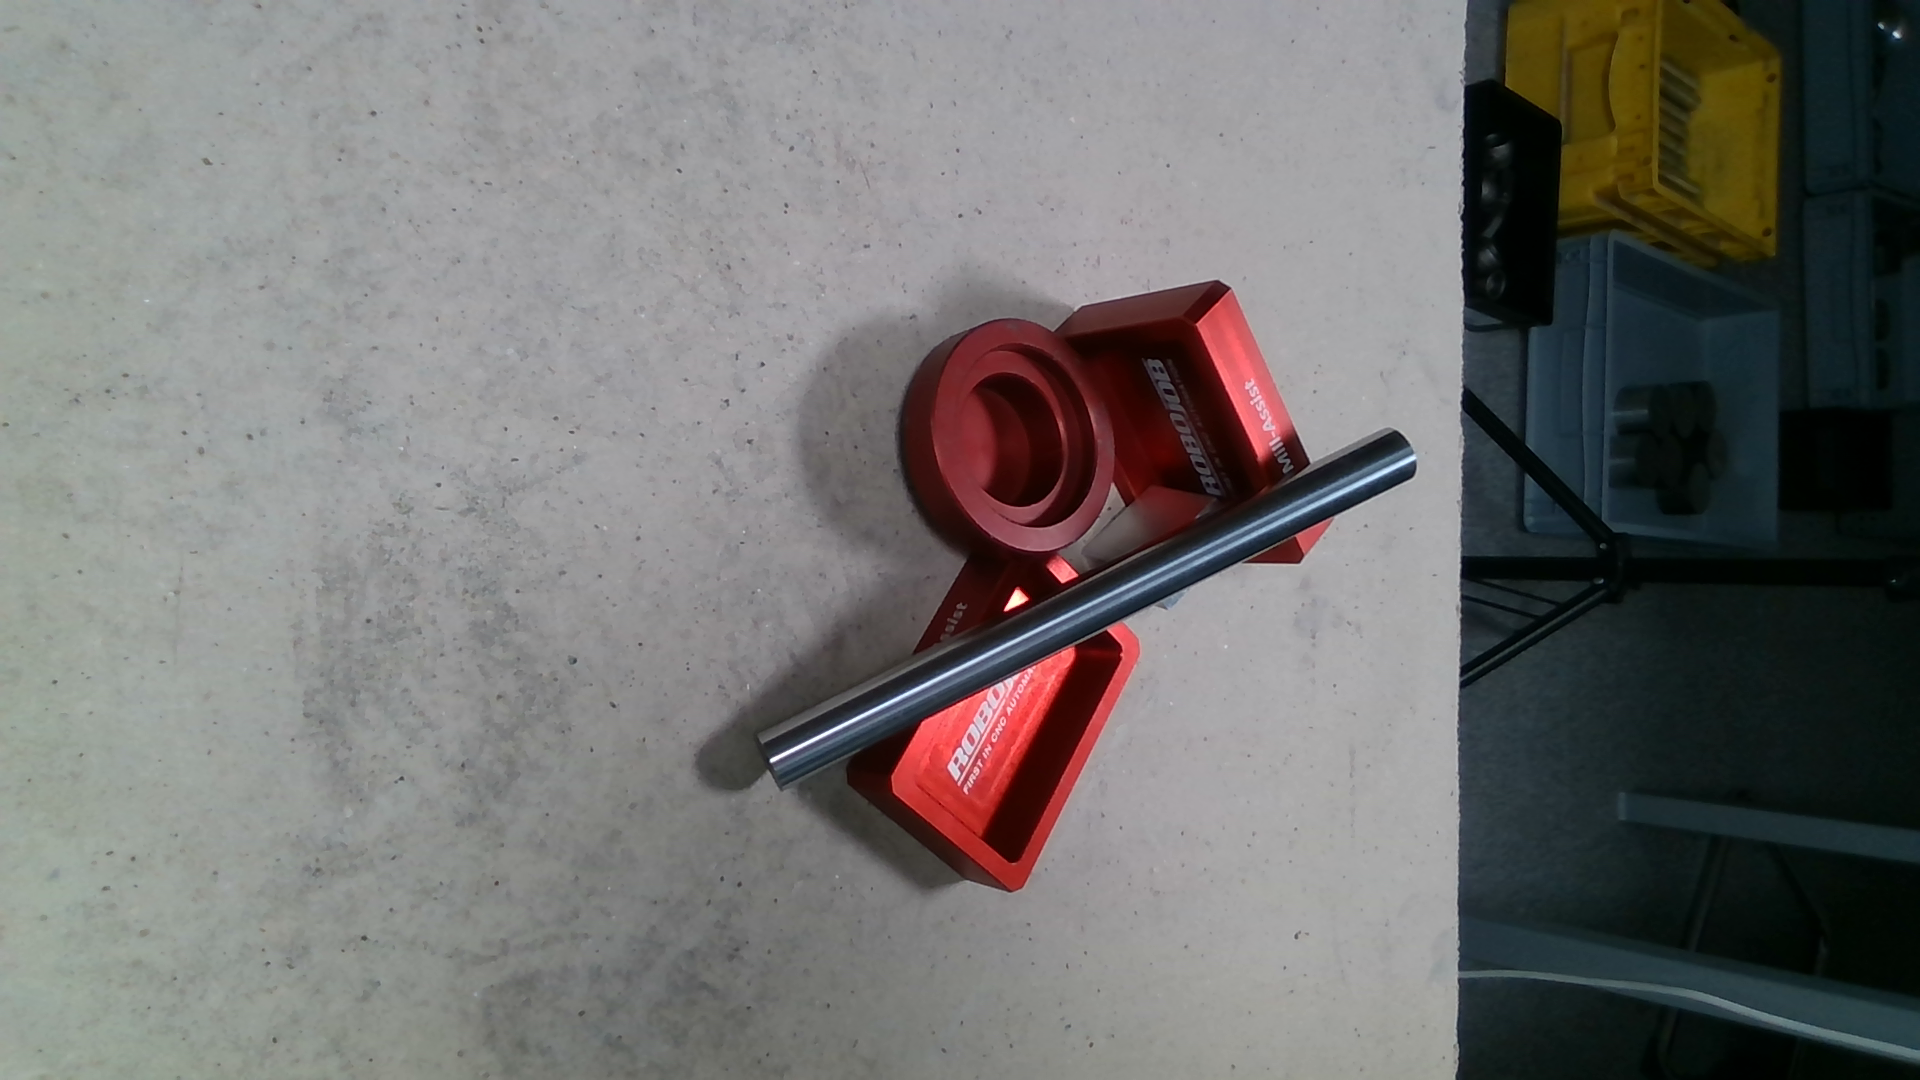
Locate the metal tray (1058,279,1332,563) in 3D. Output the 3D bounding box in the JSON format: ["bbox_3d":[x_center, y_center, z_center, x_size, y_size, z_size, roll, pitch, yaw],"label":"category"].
[{"bbox_3d":[0.104,-0.049,0.628,0.030,0.090,0.130,-45,117,-31],"label":"metal tray"}]

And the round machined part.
[{"bbox_3d":[0.015,-0.041,0.580,0.098,0.042,0.098,6,80,-36],"label":"round machined part"}]

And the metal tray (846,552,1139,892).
[{"bbox_3d":[0.018,0.072,0.595,0.090,0.030,0.130,45,63,-31],"label":"metal tray"}]

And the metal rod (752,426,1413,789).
[{"bbox_3d":[0.058,0.023,0.562,0.300,0.025,0.025,-25,107,-15],"label":"metal rod"}]

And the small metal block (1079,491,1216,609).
[{"bbox_3d":[0.092,0.002,0.638,0.050,0.050,0.025,-44,115,-16],"label":"small metal block"}]
